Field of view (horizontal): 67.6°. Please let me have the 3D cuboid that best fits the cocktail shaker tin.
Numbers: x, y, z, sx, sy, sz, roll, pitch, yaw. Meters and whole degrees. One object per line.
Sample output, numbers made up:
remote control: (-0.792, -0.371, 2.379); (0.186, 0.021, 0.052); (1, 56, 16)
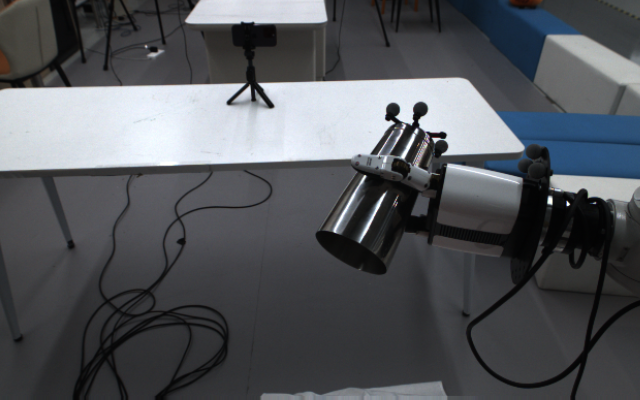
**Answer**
cocktail shaker tin: (0.077, -0.011, 0.579); (0.093, 0.093, 0.170); (20, 67, 24)
